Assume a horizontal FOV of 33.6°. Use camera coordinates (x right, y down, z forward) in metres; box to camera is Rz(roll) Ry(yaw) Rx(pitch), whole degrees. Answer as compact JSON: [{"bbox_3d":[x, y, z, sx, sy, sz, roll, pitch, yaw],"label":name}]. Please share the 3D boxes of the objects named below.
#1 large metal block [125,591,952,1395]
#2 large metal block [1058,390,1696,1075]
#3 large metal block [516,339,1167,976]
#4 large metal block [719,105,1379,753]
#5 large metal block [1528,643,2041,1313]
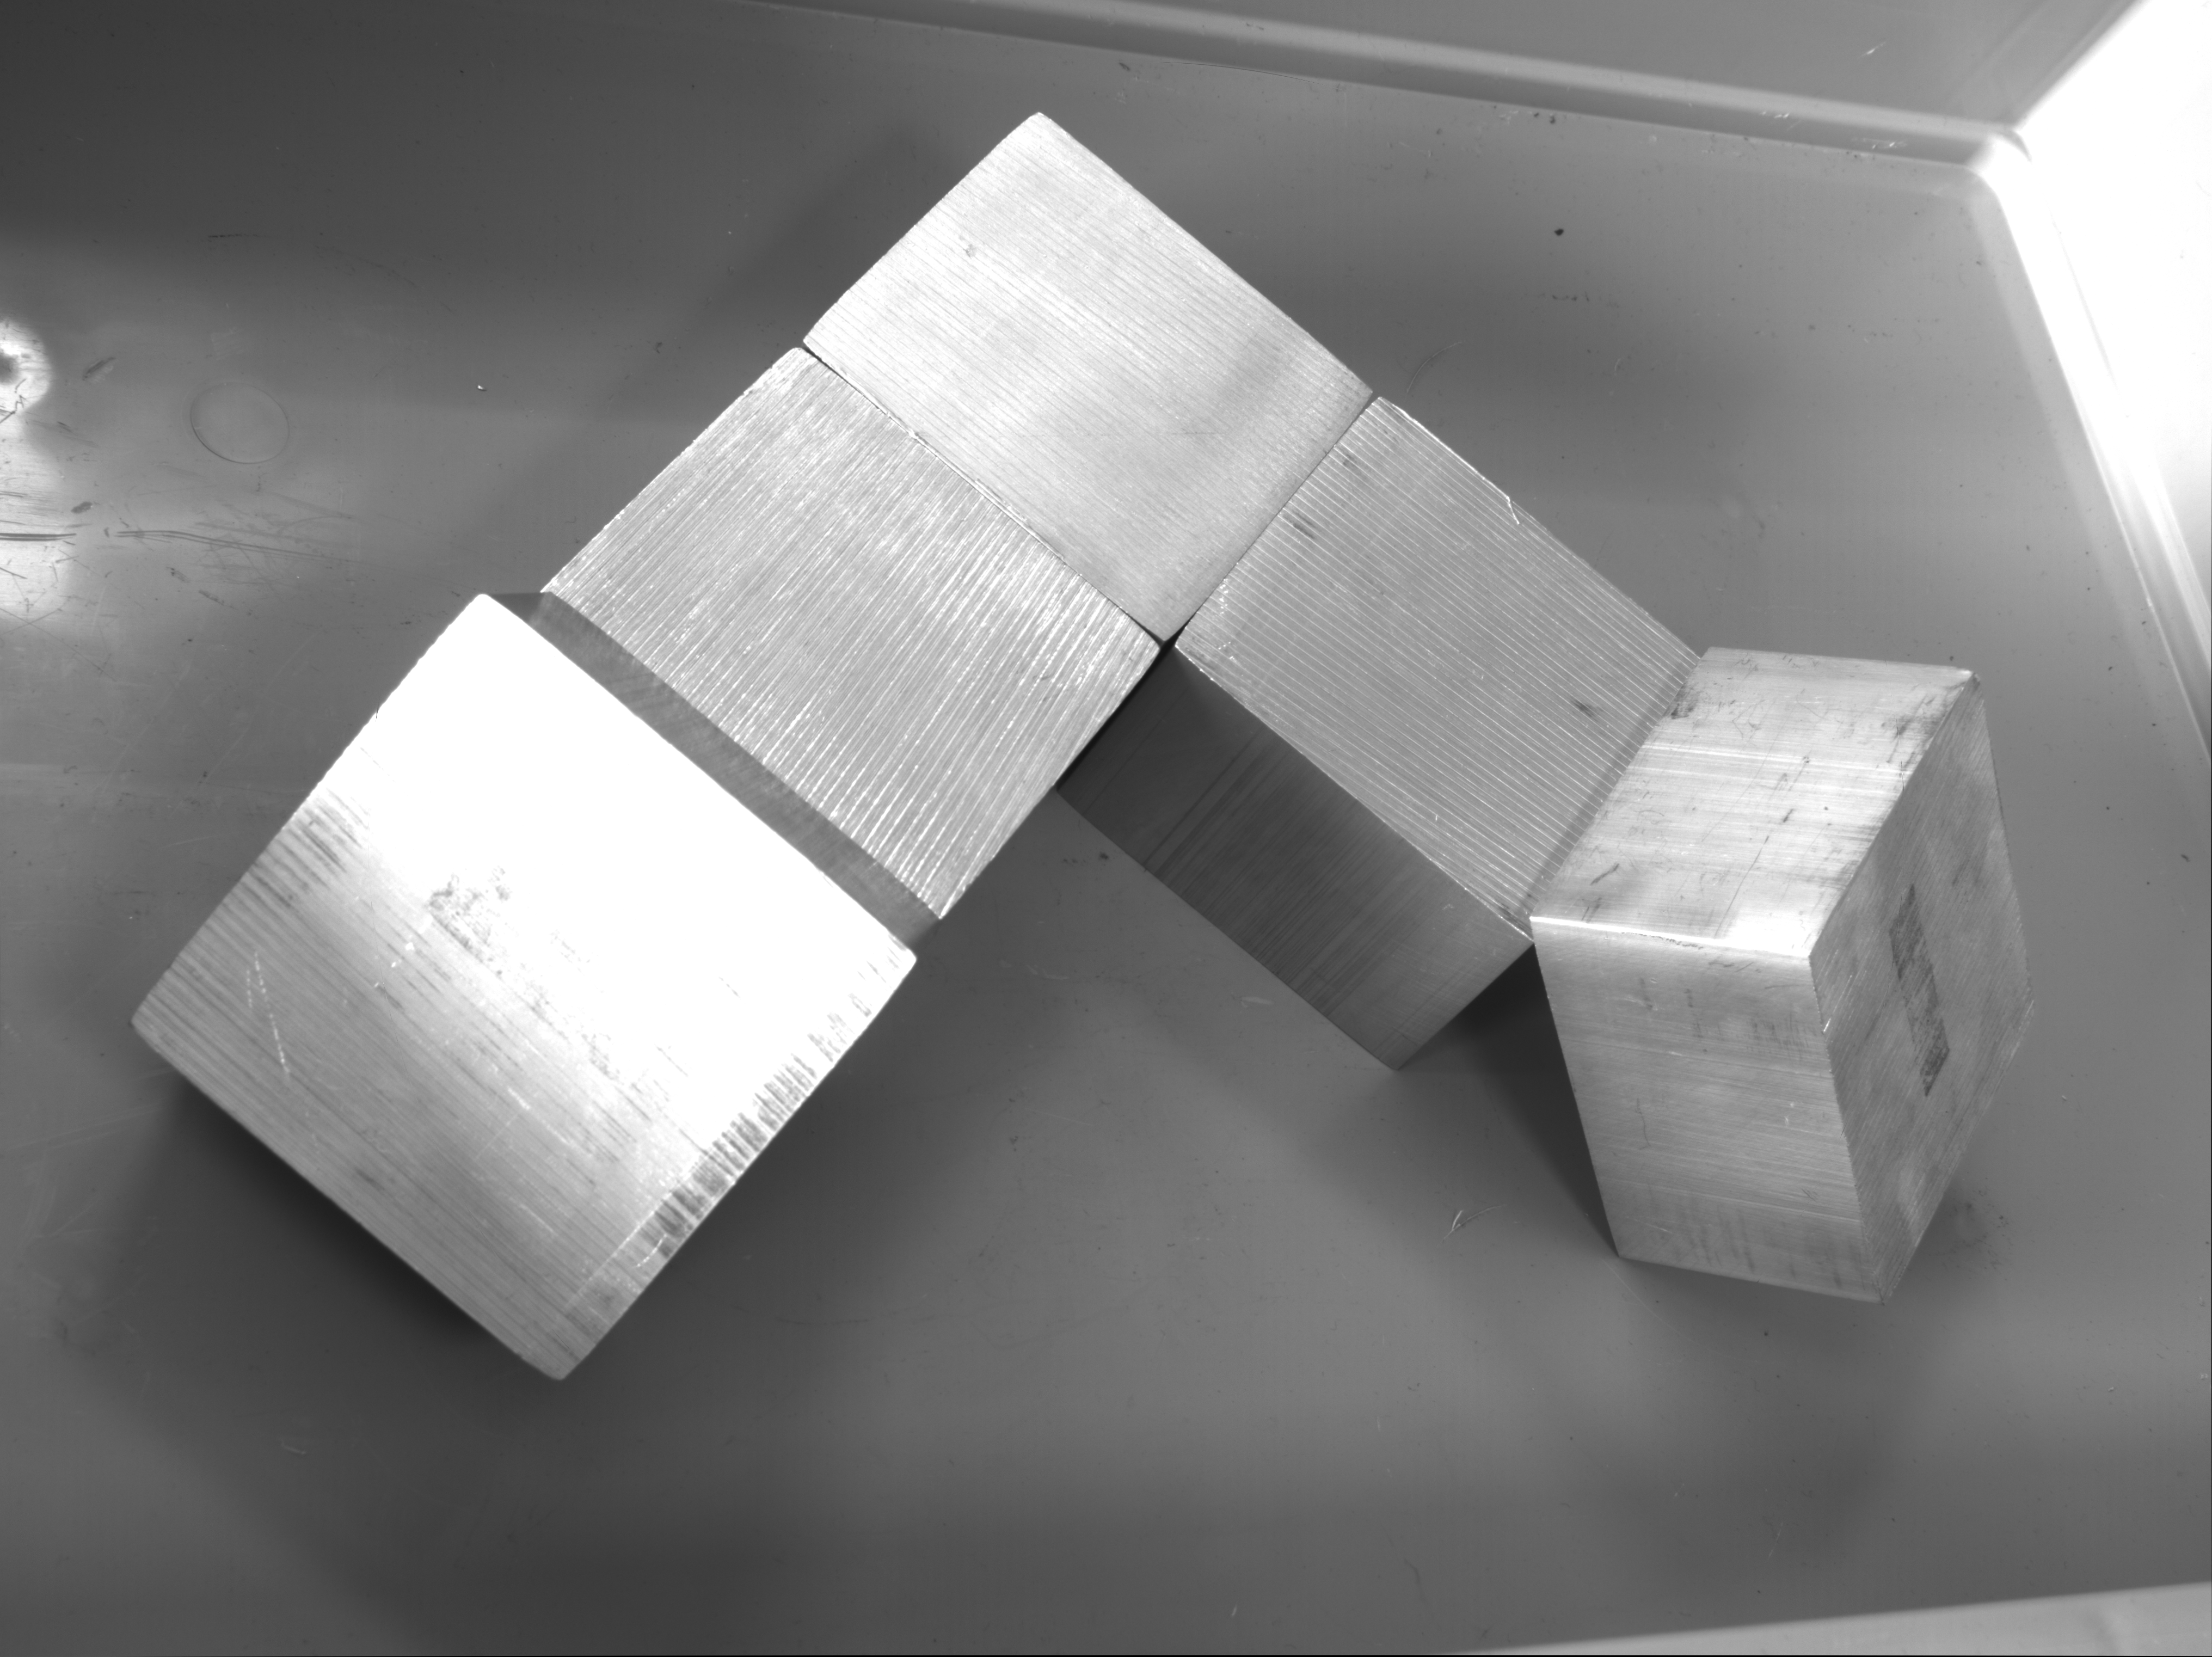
[{"bbox_3d":[-0.080,0.022,0.537,0.080,0.050,0.080,39,94,-1],"label":"large metal block"},{"bbox_3d":[0.051,-0.018,0.659,0.080,0.050,0.080,39,51,-1],"label":"large metal block"},{"bbox_3d":[-0.050,-0.020,0.606,0.080,0.050,0.080,39,51,-1],"label":"large metal block"},{"bbox_3d":[-0.011,-0.069,0.657,0.080,0.050,0.080,39,51,-1],"label":"large metal block"},{"bbox_3d":[0.122,0.025,0.644,0.080,0.050,0.080,-52,135,-39],"label":"large metal block"}]
